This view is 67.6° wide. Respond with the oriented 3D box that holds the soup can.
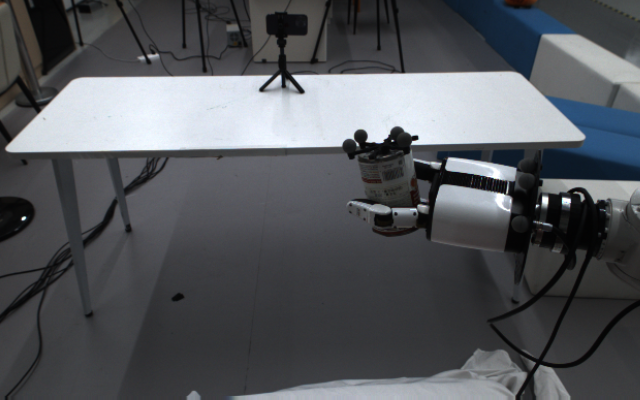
[{"bbox_3d":[0.091,-0.014,0.603,0.067,0.101,0.067,-13,20,5],"label":"soup can"}]
